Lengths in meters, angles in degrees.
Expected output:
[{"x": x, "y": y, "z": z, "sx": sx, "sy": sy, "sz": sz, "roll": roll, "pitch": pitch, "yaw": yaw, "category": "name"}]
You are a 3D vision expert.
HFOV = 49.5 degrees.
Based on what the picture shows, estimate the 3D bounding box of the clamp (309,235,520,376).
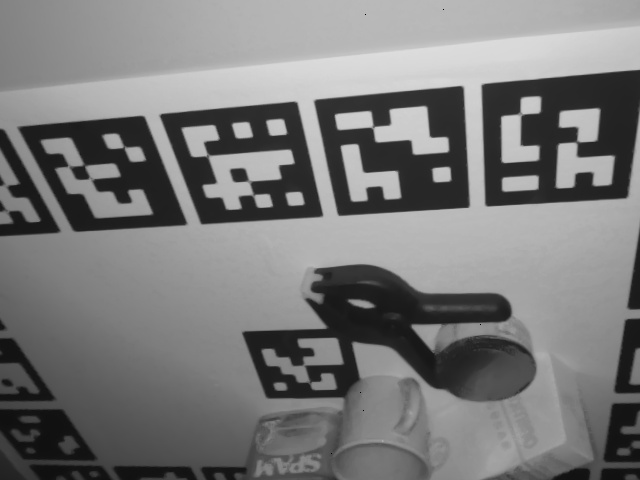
[{"x": 0.067, "y": 0.045, "z": 0.583, "sx": 0.166, "sy": 0.037, "sz": 0.120, "roll": 29, "pitch": 129, "yaw": -8, "category": "clamp"}]

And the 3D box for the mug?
[{"x": 0.061, "y": 0.166, "z": 0.634, "sx": 0.093, "sy": 0.082, "sz": 0.115, "roll": 19, "pitch": 125, "yaw": -5, "category": "mug"}]

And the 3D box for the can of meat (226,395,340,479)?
[{"x": -0.031, "y": 0.204, "z": 0.684, "sx": 0.101, "sy": 0.084, "sz": 0.057, "roll": -8, "pitch": 126, "yaw": 15, "category": "can of meat"}]

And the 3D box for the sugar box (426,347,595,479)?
[{"x": 0.154, "y": 0.175, "z": 0.631, "sx": 0.174, "sy": 0.094, "sz": 0.045, "roll": -36, "pitch": 116, "yaw": 30, "category": "sugar box"}]

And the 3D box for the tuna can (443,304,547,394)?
[{"x": 0.149, "y": 0.091, "z": 0.599, "sx": 0.085, "sy": 0.034, "sz": 0.085, "roll": 3, "pitch": 125, "yaw": 6, "category": "tuna can"}]
